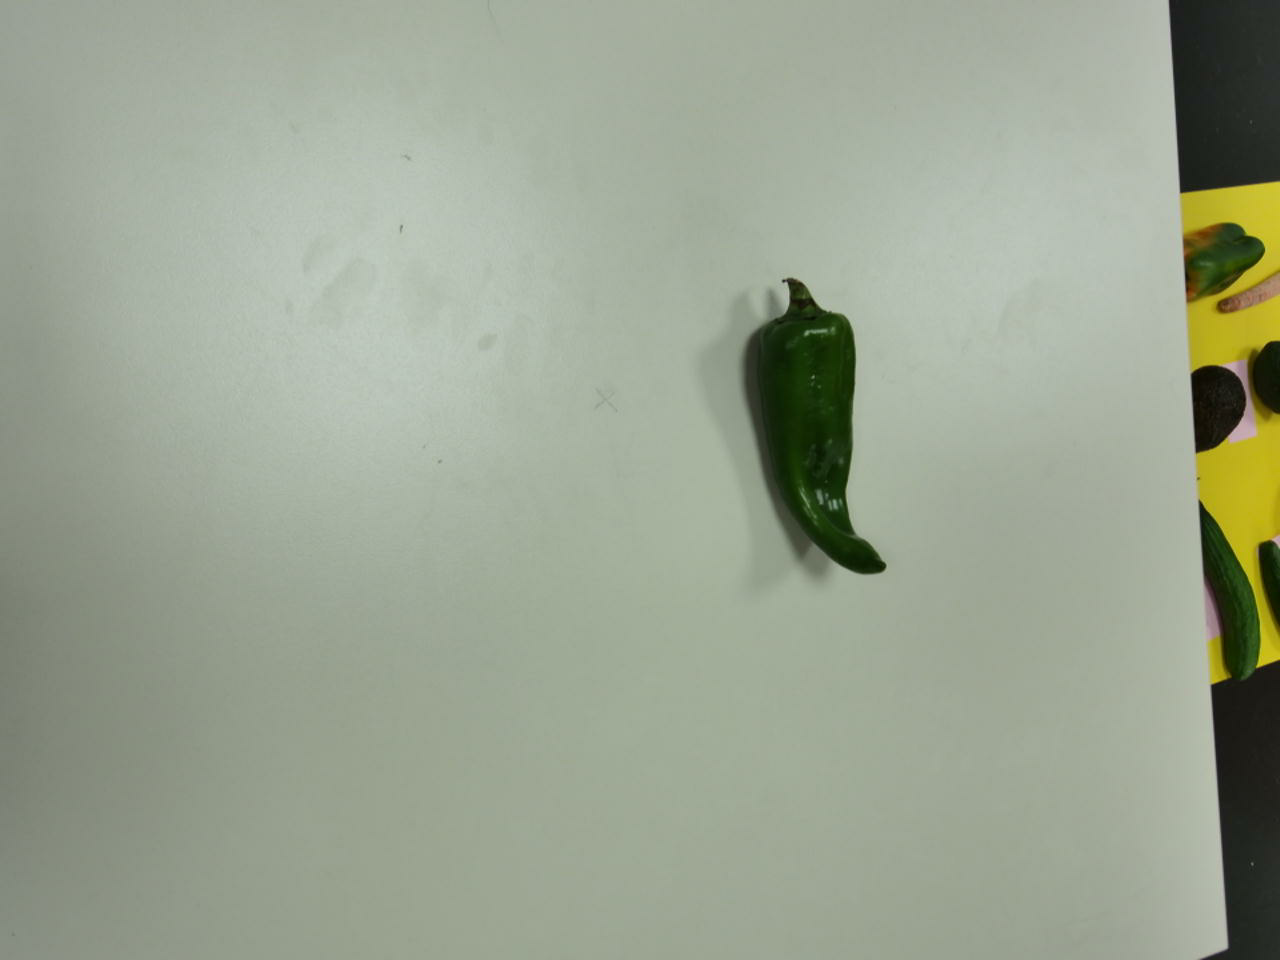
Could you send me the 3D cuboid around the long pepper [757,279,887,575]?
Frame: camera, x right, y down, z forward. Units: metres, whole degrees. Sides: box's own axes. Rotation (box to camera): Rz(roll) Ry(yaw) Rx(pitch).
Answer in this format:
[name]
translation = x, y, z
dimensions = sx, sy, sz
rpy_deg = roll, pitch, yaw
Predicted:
[long pepper]
translation = 0.104, -0.030, 0.576
dimensions = 0.058, 0.065, 0.175
rpy_deg = -8, 94, -22
